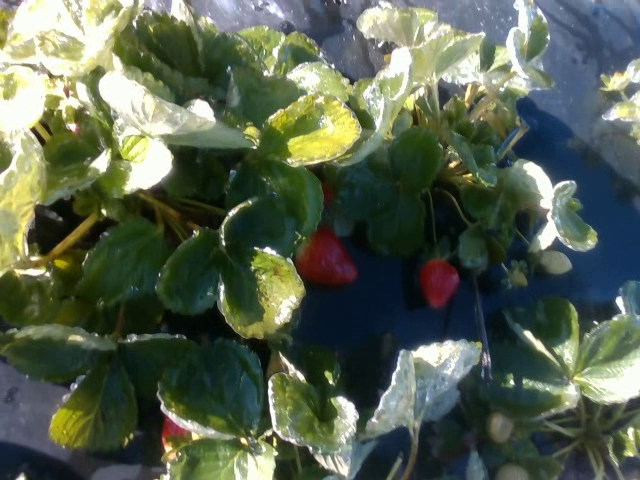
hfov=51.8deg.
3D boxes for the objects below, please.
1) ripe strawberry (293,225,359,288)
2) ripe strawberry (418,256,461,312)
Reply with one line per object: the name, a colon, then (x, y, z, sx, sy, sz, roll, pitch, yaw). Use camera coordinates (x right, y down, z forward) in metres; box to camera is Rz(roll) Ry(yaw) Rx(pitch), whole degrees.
ripe strawberry: (0.009, 0.017, 0.472, 0.056, 0.044, 0.040, 39, -18, -26)
ripe strawberry: (0.094, 0.036, 0.508, 0.039, 0.047, 0.040, 27, -23, -29)
